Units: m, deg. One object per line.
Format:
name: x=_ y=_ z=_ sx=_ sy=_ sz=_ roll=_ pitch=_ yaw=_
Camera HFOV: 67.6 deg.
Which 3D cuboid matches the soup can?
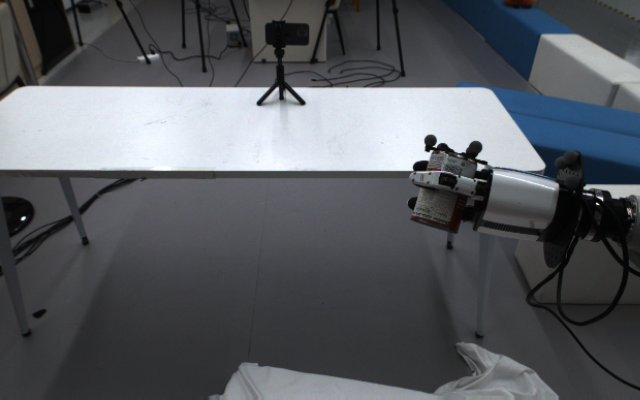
soup can: x=0.174 y=-0.012 z=0.681 sx=0.067 sy=0.101 sz=0.067 roll=18 pitch=-2 yaw=1
